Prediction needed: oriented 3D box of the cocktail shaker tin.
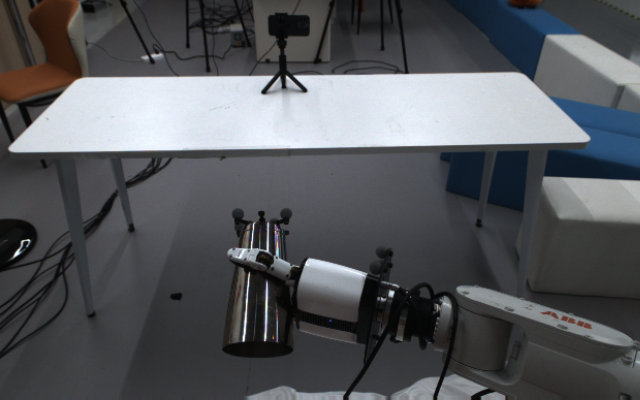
[{"bbox_3d":[-0.082,0.119,0.659,0.093,0.093,0.170,0,59,-3],"label":"cocktail shaker tin"}]
